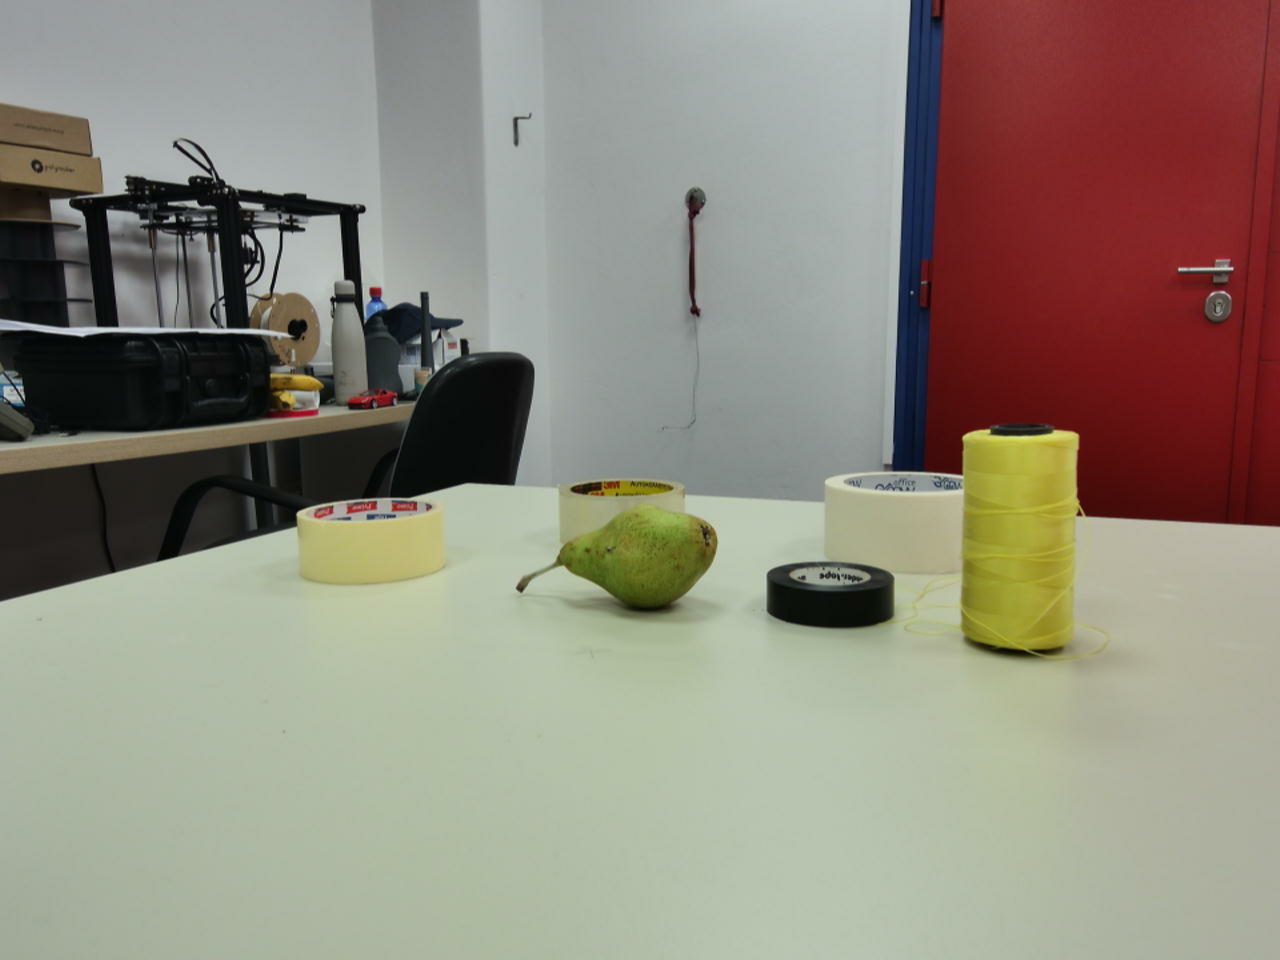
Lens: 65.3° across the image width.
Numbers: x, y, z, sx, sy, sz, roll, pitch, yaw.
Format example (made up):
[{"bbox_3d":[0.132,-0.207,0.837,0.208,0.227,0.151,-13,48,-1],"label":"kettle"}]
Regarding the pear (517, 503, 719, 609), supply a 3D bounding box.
[{"bbox_3d":[-0.010,0.040,0.555,0.111,0.056,0.056,6,7,39],"label":"pear"}]
